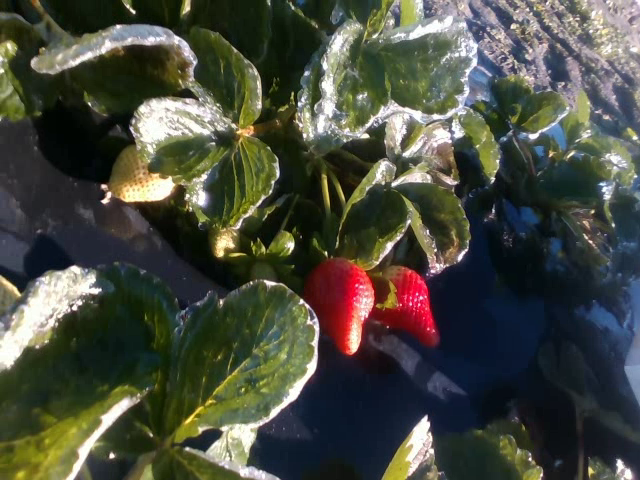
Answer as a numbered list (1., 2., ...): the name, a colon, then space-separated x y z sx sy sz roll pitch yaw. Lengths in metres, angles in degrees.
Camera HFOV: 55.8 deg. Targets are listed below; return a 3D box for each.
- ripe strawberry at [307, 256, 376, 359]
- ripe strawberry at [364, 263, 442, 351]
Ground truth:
1. ripe strawberry: 0.018 0.044 0.370 0.040 0.069 0.052 -19 -35 35
2. ripe strawberry: 0.064 0.042 0.400 0.040 0.059 0.043 -24 8 46
